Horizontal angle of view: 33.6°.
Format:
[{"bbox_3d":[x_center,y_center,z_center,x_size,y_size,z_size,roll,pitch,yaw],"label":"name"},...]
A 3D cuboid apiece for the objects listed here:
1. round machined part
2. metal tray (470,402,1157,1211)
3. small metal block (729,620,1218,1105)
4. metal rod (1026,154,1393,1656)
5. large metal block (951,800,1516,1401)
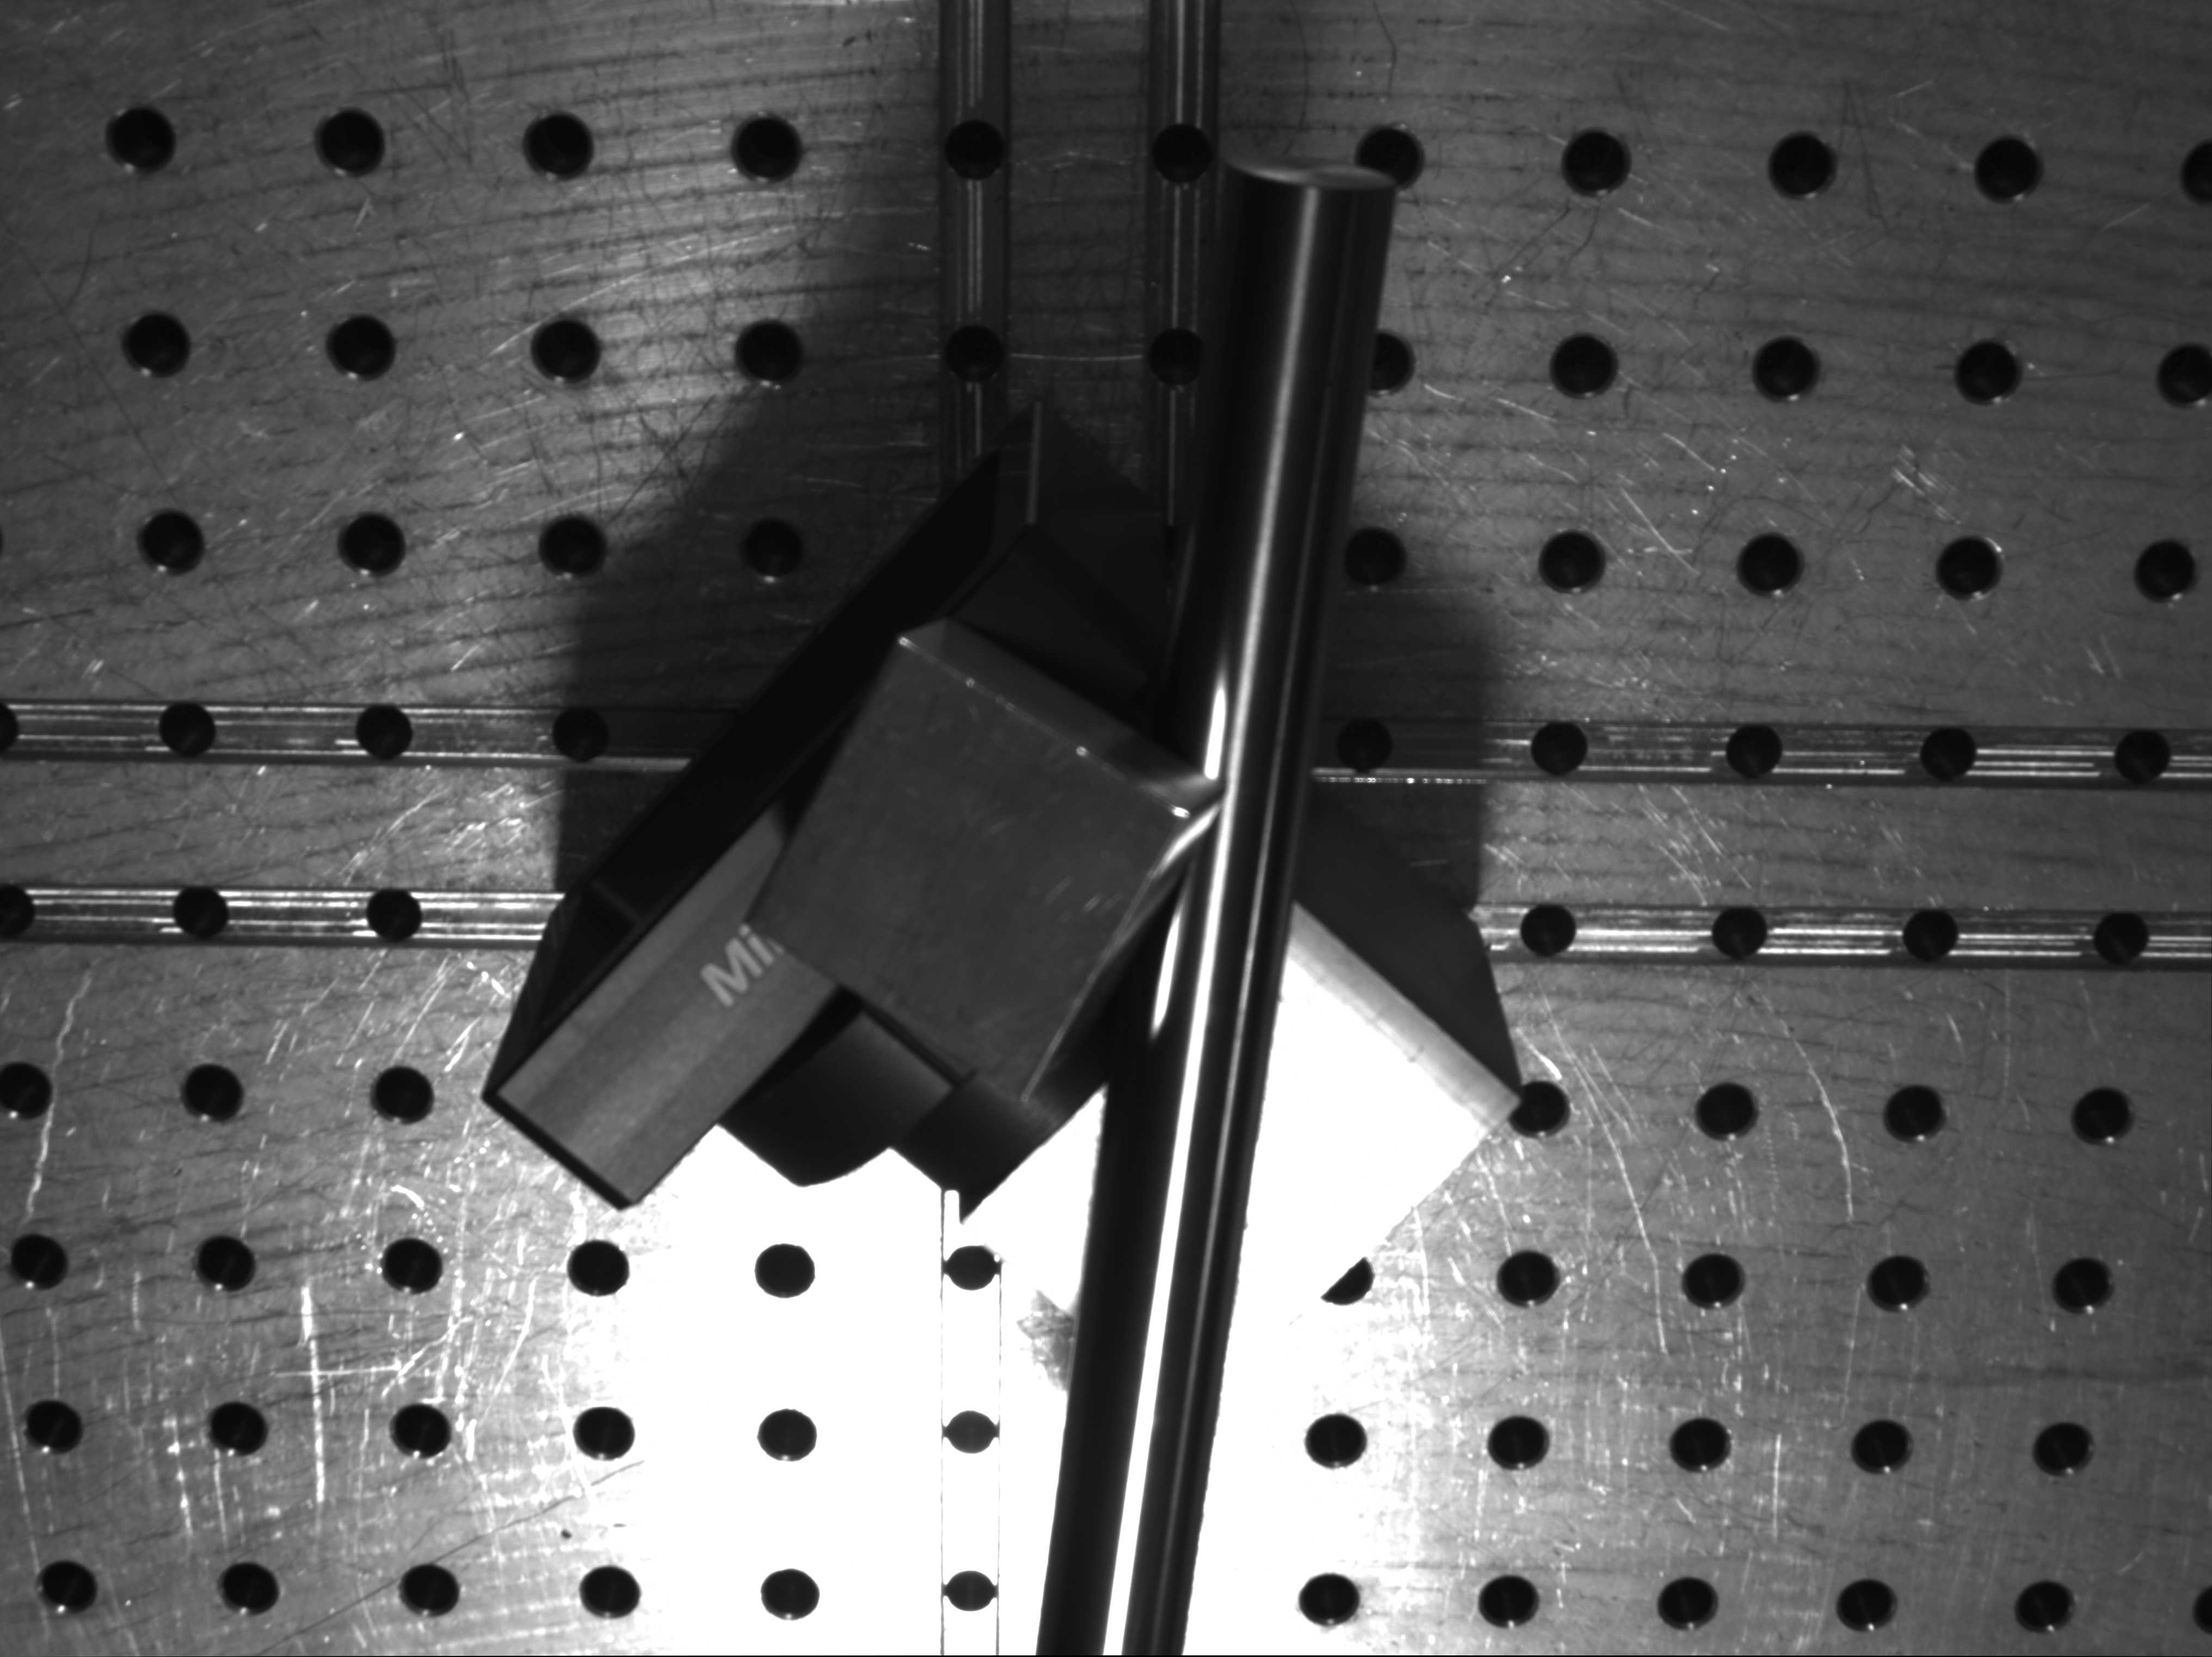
[{"bbox_3d":[-0.024,0.019,0.617,0.042,0.098,0.098,40,105,-14],"label":"round machined part"},{"bbox_3d":[-0.047,-0.006,0.608,0.030,0.090,0.130,41,104,-14],"label":"metal tray"},{"bbox_3d":[-0.020,0.004,0.543,0.050,0.025,0.050,32,106,8],"label":"small metal block"},{"bbox_3d":[0.011,0.046,0.577,0.025,0.025,0.300,6,110,-3],"label":"metal rod"},{"bbox_3d":[0.020,0.044,0.629,0.050,0.080,0.080,41,105,-14],"label":"large metal block"}]
